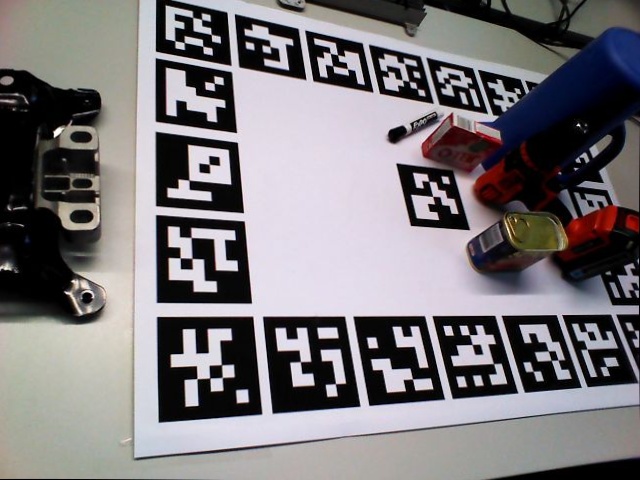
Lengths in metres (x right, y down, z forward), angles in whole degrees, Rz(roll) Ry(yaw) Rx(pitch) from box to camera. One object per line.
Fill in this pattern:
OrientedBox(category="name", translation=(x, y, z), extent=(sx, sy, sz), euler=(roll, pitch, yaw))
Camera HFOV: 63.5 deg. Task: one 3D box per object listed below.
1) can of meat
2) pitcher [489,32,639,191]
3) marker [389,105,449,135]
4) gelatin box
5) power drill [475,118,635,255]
OrientedBox(category="can of meat", translation=(0.264, 0.007, 0.699), extent=(0.101, 0.084, 0.057), euler=(2, 63, -25))
OrientedBox(category="pitcher", translation=(0.376, -0.168, 0.754), extent=(0.189, 0.244, 0.132), euler=(29, 60, -2))
OrientedBox(category="marker", translation=(0.148, -0.181, 0.778), extent=(0.120, 0.020, 0.019), euler=(-26, 79, -32))
OrientedBox(category="gelatin box", translation=(0.214, -0.139, 0.759), extent=(0.089, 0.074, 0.030), euler=(14, 64, -20))
OrientedBox(category="power drill", translation=(0.336, -0.067, 0.713), extent=(0.187, 0.186, 0.057), euler=(38, 58, -11))
